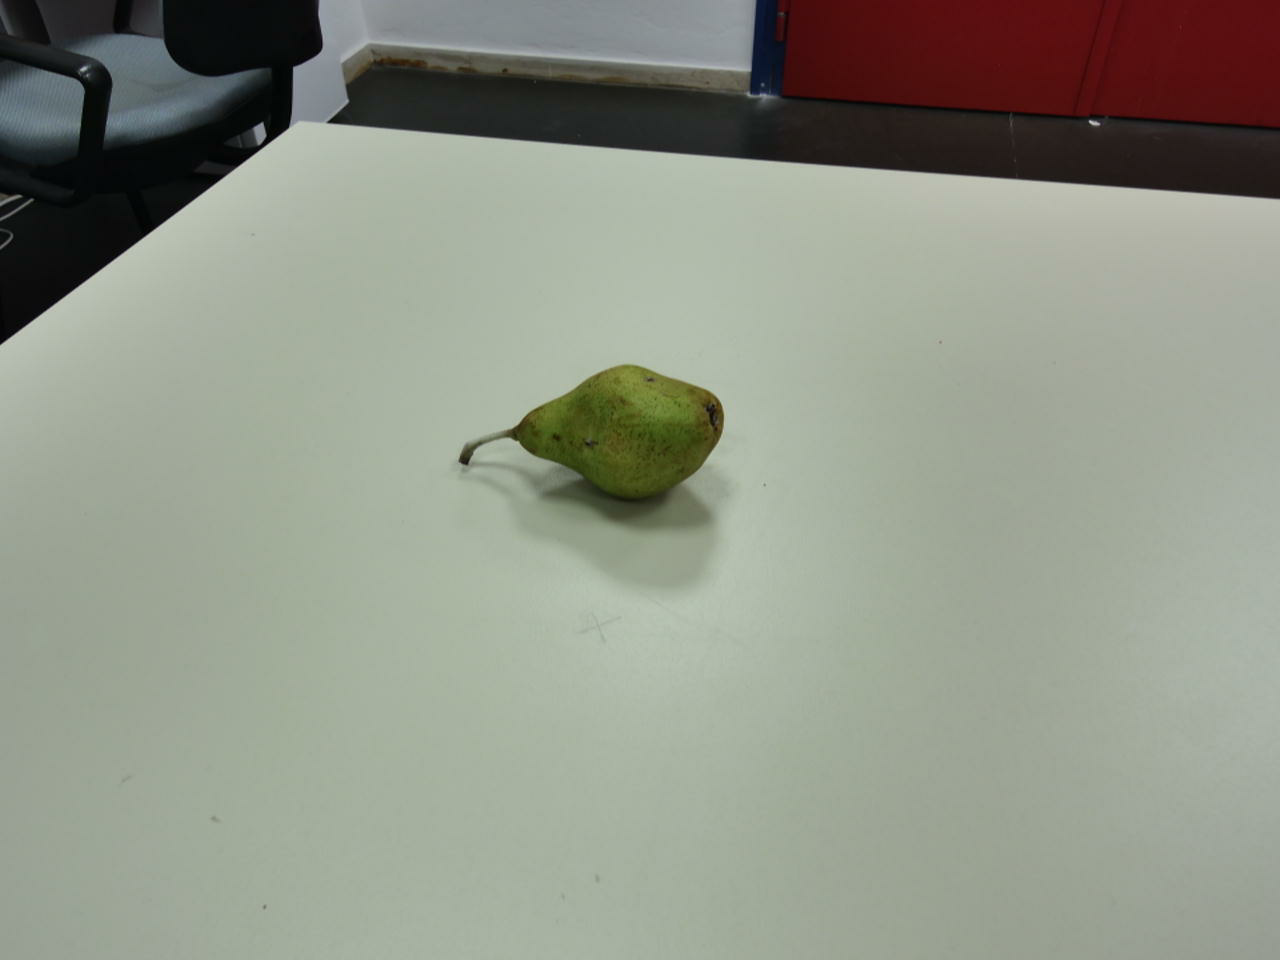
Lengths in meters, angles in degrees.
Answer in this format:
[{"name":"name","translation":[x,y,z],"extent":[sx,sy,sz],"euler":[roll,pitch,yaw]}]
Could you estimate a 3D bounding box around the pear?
[{"name":"pear","translation":[-0.019,-0.026,0.426],"extent":[0.111,0.056,0.056],"euler":[18,42,23]}]
